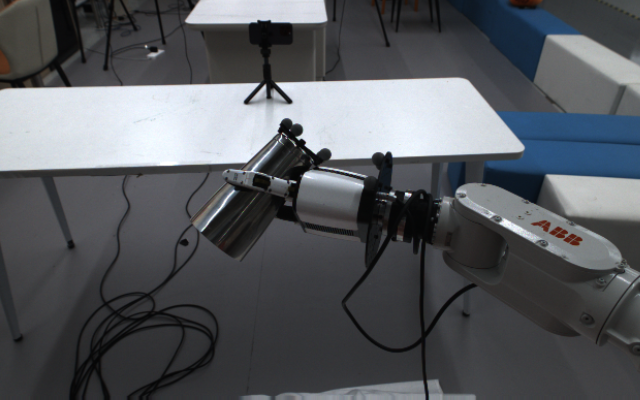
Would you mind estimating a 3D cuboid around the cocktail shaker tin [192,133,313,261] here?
[{"bbox_3d":[-0.088,-0.012,0.677,0.170,0.093,0.093,-48,49,-3],"label":"cocktail shaker tin"}]
